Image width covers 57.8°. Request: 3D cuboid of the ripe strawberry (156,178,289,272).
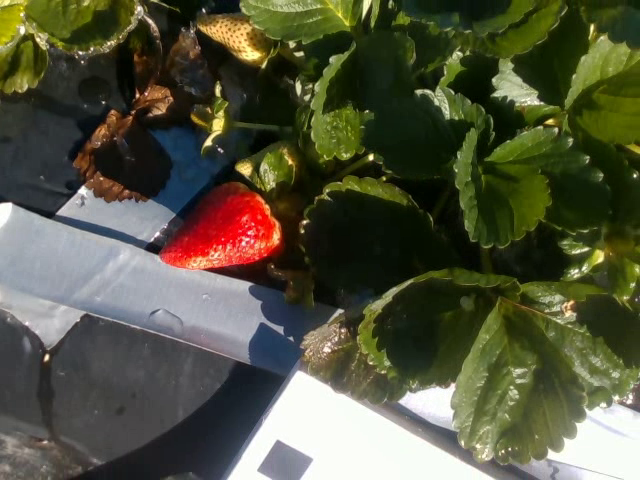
[{"bbox_3d":[-0.057,0.003,0.320,0.065,0.061,0.057,-37,15,-35],"label":"ripe strawberry"}]
